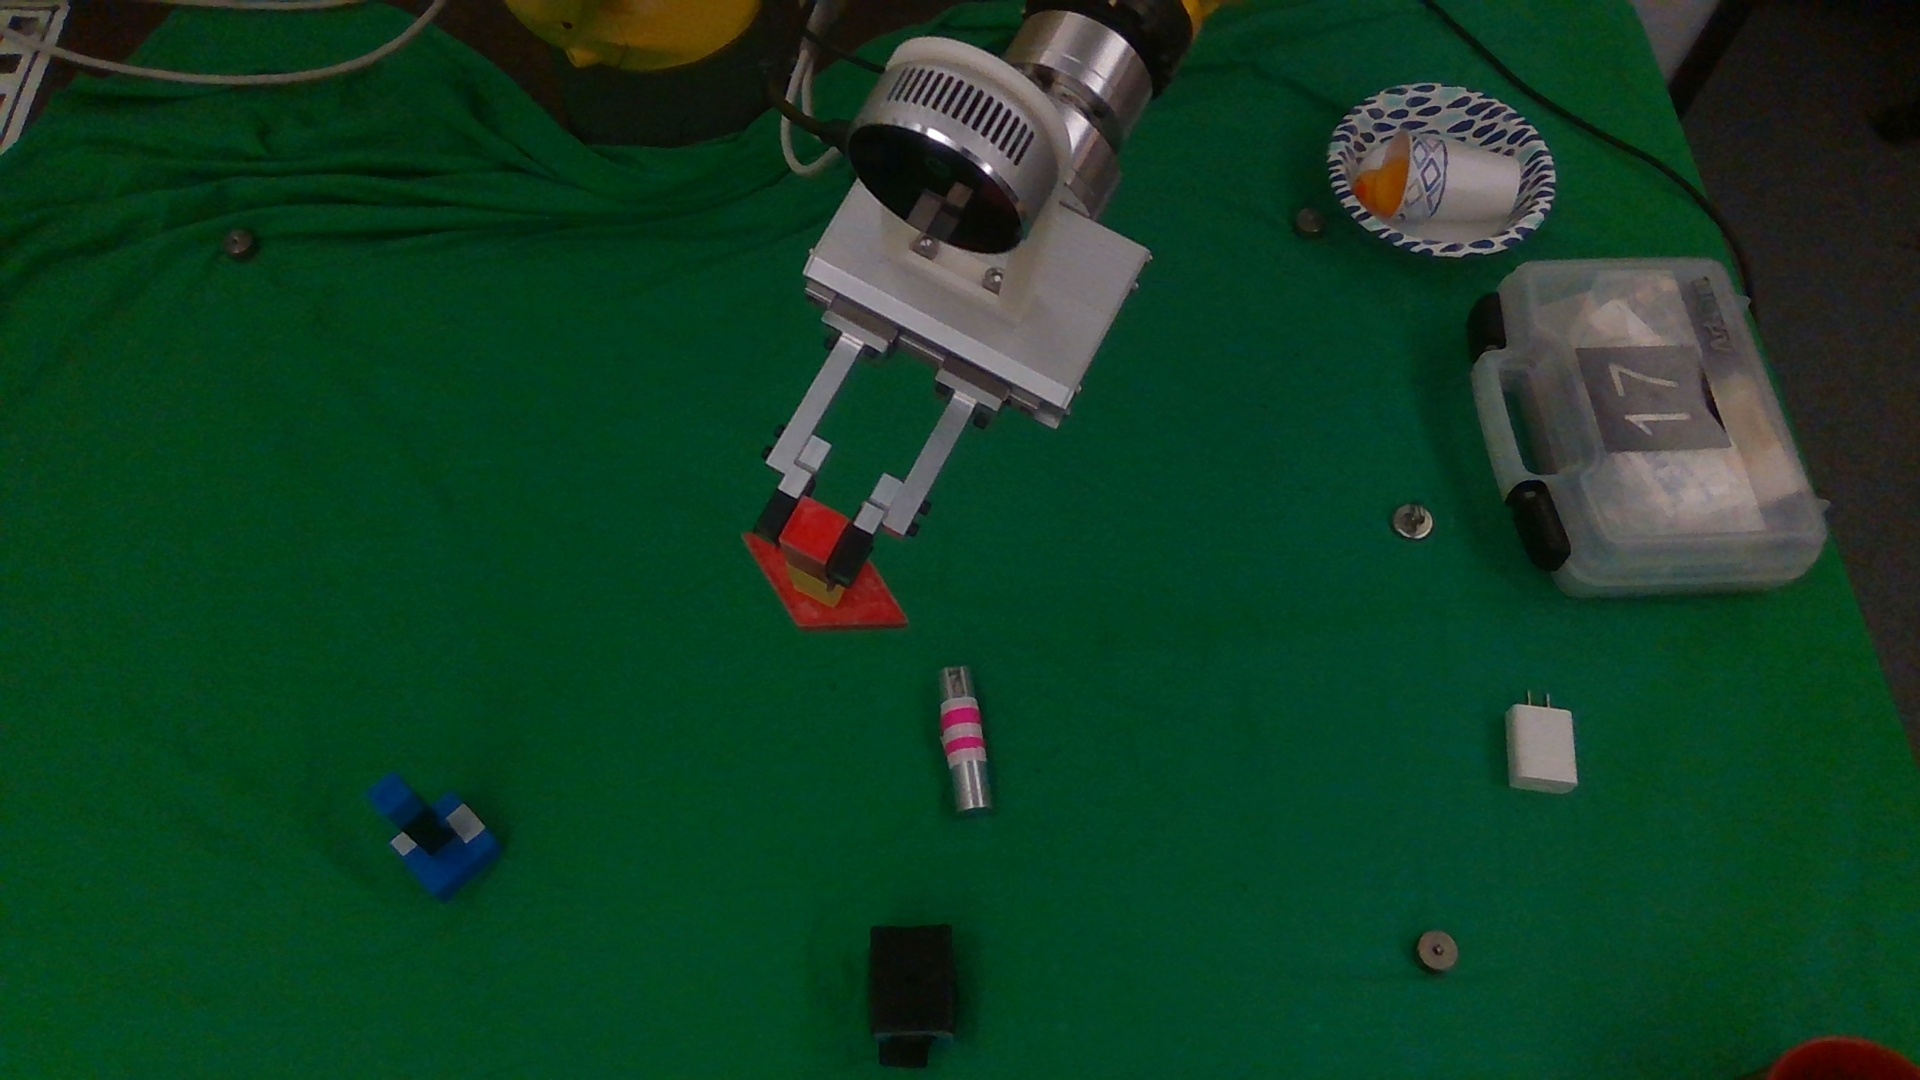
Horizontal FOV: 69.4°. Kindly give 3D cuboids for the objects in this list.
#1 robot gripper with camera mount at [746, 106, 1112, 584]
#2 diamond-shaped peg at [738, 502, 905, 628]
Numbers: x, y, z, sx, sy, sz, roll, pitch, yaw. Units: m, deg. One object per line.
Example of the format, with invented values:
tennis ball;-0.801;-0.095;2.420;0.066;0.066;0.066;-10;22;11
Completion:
robot gripper with camera mount;-0.015;-0.070;0.489;0.119;0.193;0.158;28;80;-4
diamond-shaped peg;-0.062;0.008;0.590;0.074;0.122;0.045;-2;80;-2
